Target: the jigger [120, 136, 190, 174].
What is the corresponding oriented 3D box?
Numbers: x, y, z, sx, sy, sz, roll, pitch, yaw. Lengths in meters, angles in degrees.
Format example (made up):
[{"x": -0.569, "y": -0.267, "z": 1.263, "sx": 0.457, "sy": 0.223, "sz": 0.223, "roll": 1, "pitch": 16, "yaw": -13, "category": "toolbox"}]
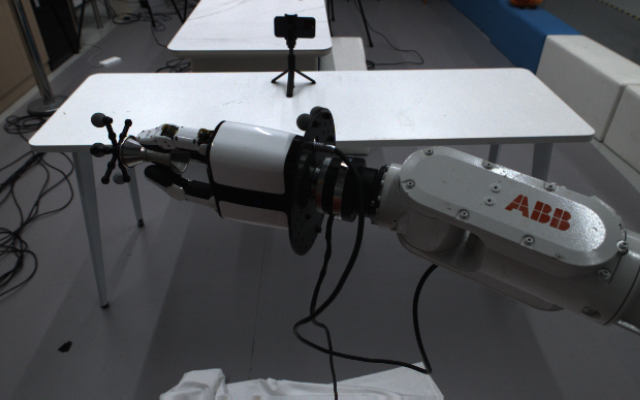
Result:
[{"x": -0.192, "y": -0.058, "z": 0.577, "sx": 0.071, "sy": 0.043, "sz": 0.043, "roll": 5, "pitch": 35, "yaw": 12, "category": "jigger"}]
